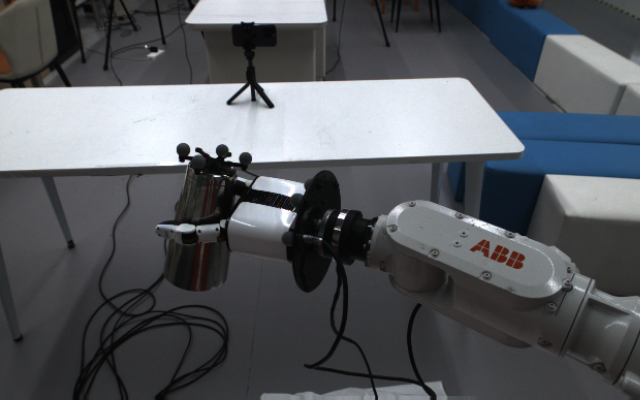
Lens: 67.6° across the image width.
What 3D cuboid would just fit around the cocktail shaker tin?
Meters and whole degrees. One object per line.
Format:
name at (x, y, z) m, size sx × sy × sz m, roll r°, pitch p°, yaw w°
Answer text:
cocktail shaker tin at (-0.161, 0.029, 0.676) m, size 0.093 × 0.170 × 0.093 m, roll 12°, pitch 24°, yaw -5°
